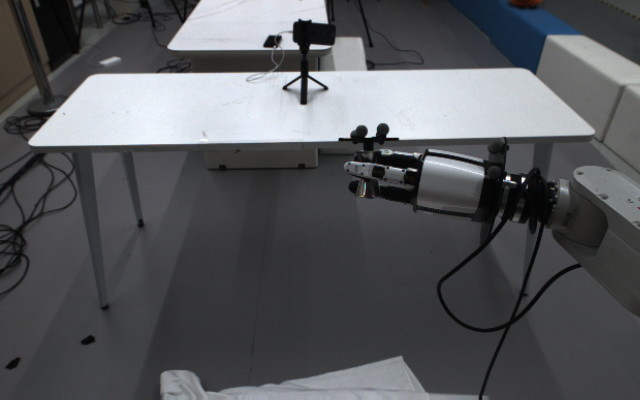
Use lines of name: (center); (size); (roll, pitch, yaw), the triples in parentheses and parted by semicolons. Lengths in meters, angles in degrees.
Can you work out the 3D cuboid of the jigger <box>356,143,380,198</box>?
jigger: (0.072, -0.039, 0.723); (0.043, 0.071, 0.043); (-1, 2, 0)
